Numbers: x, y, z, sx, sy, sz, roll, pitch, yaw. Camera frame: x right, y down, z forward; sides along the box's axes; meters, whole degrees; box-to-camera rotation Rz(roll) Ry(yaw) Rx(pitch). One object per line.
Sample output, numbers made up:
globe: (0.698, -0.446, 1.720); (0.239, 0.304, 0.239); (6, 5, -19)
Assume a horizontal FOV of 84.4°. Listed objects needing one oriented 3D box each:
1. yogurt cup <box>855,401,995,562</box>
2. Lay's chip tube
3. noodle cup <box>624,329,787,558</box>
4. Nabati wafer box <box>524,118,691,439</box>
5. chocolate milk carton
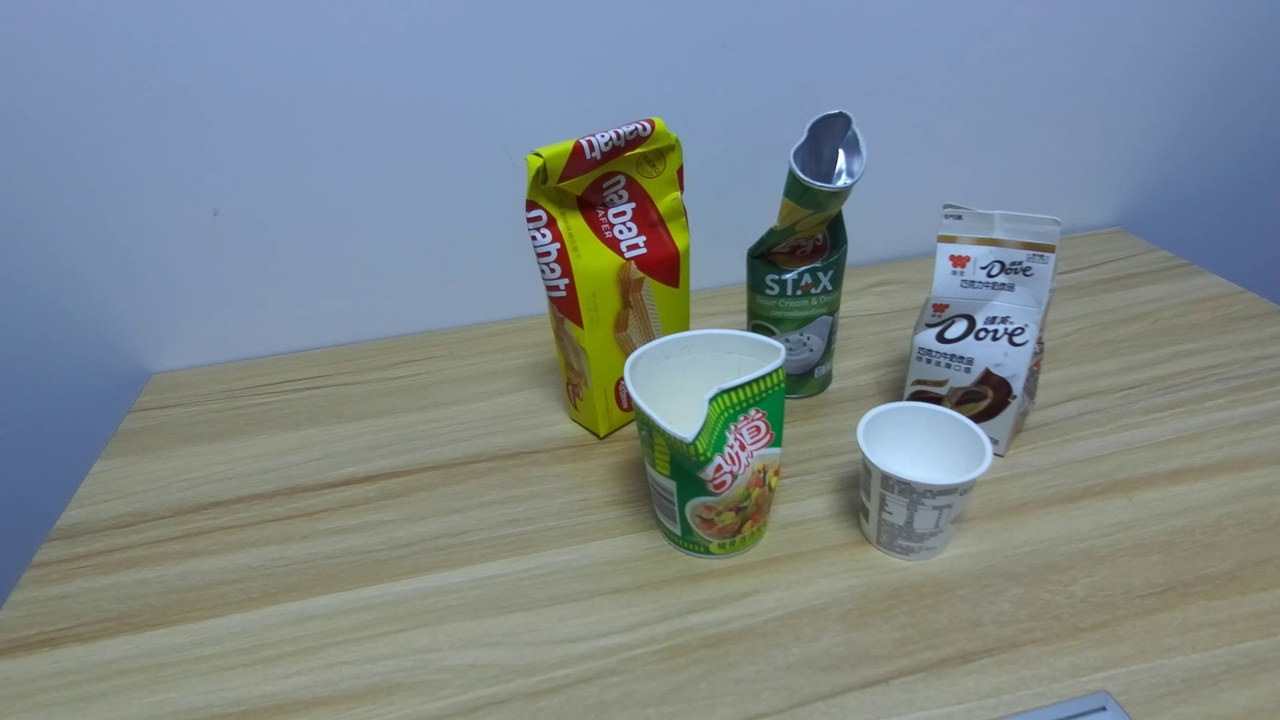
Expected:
yogurt cup: (0.157, 0.072, 0.405); (0.072, 0.068, 0.072); (-3, 34, 2)
Lay's chip tube: (0.117, -0.063, 0.499); (0.079, 0.199, 0.070); (-22, 44, -21)
noodle cup: (0.042, 0.050, 0.411); (0.094, 0.109, 0.086); (-19, 37, -21)
Nabati wafer box: (-0.014, -0.052, 0.486); (0.113, 0.205, 0.042); (-27, 38, -30)
chocolate milk carton: (0.230, -0.025, 0.468); (0.084, 0.155, 0.073); (18, 40, 27)
